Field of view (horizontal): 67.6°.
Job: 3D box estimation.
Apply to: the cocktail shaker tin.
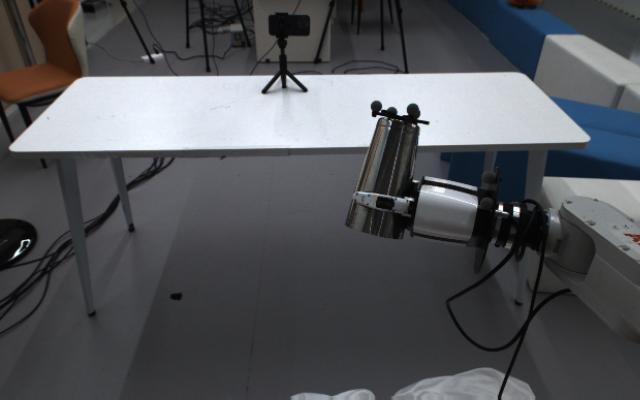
[{"bbox_3d":[0.101,-0.035,0.741,0.093,0.170,0.093,13,4,-1],"label":"cocktail shaker tin"}]
